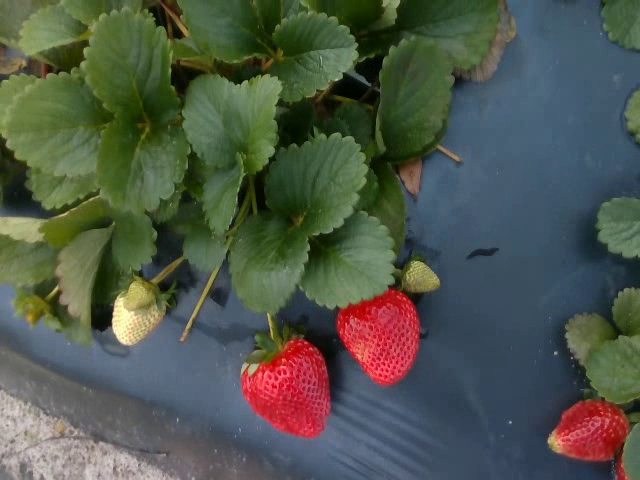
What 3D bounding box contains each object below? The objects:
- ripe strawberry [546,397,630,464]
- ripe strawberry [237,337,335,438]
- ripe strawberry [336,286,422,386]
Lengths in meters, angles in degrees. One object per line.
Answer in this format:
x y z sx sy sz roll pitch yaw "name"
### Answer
0.148 0.111 0.348 0.053 0.047 0.039 -11 40 -8 "ripe strawberry"
-0.018 0.098 0.375 0.058 0.065 0.043 -27 3 40 "ripe strawberry"
0.035 0.061 0.360 0.051 0.060 0.050 11 -31 -38 "ripe strawberry"
